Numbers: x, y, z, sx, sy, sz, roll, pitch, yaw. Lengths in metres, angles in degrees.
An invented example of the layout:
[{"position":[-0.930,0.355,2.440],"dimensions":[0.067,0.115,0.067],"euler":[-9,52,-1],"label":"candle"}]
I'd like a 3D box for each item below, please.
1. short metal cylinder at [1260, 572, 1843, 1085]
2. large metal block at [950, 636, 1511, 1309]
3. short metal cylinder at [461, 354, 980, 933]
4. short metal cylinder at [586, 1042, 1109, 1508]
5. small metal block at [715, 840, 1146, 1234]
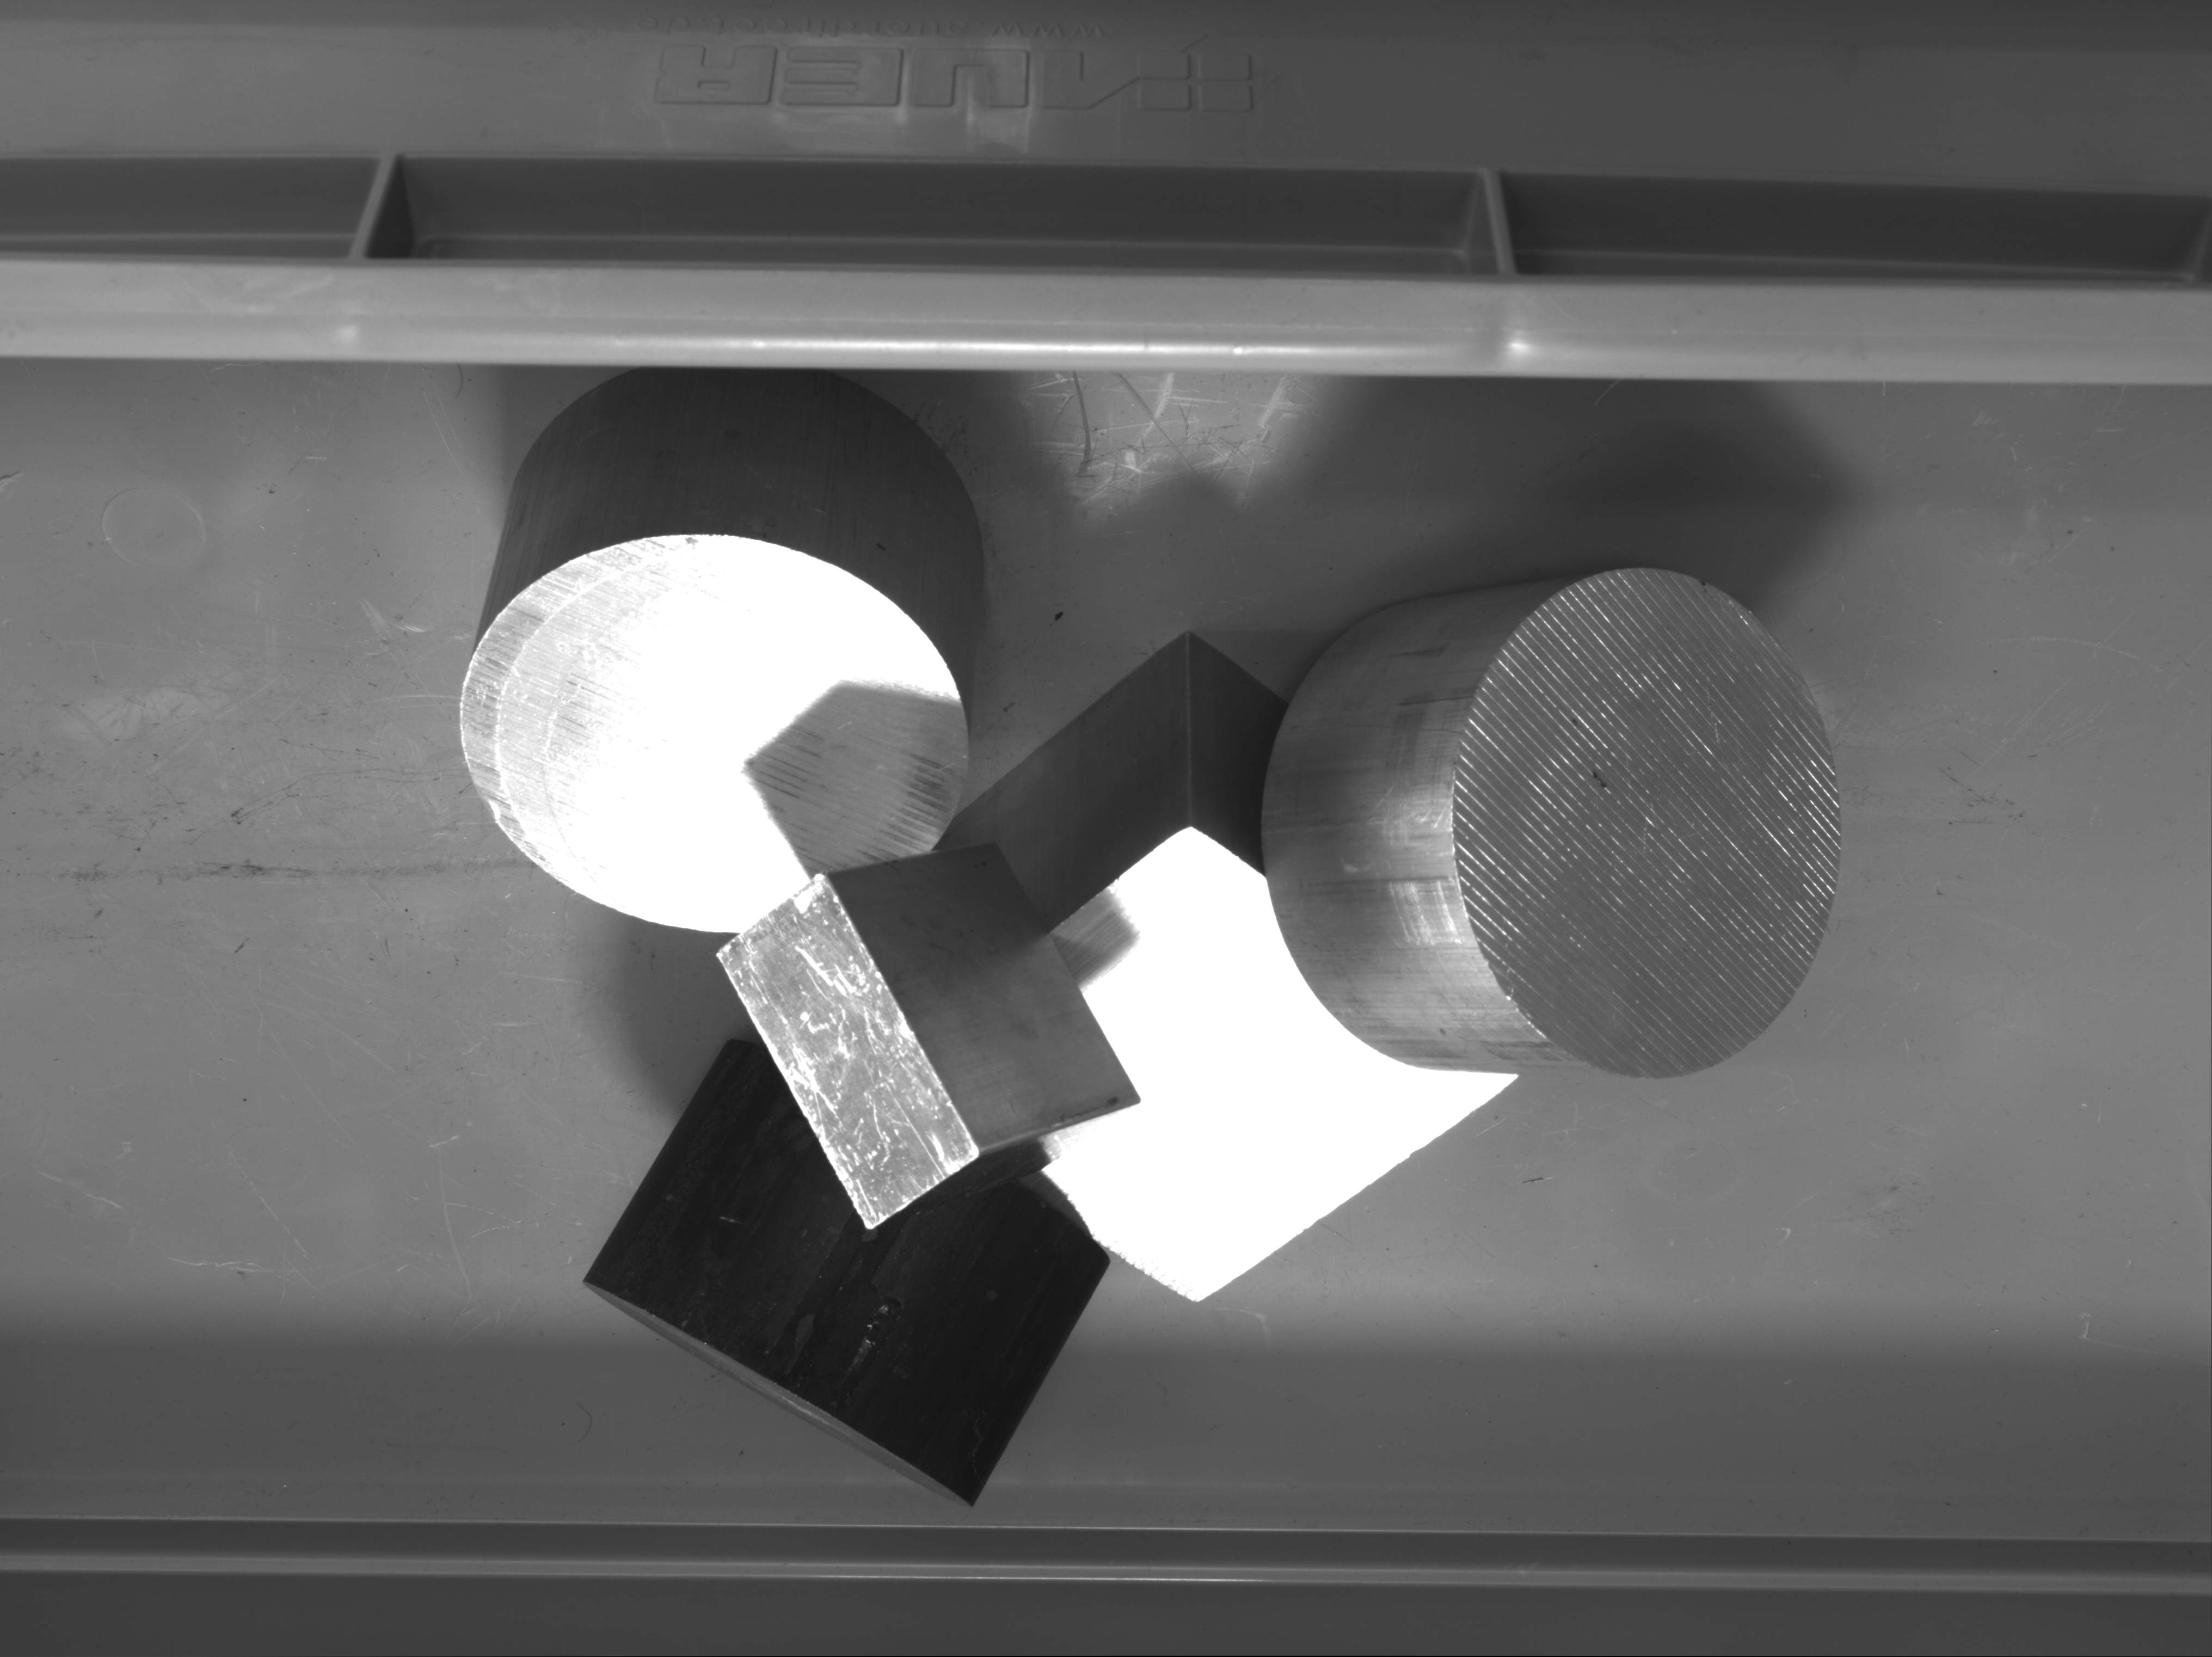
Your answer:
[{"position":[0.072,0.001,0.594],"dimensions":[0.080,0.080,0.050],"euler":[36,160,-26],"label":"short metal cylinder"},{"position":[0.015,0.027,0.641],"dimensions":[0.080,0.050,0.080],"euler":[37,121,-27],"label":"large metal block"},{"position":[-0.061,-0.030,0.597],"dimensions":[0.080,0.050,0.080],"euler":[0,130,0],"label":"short metal cylinder"},{"position":[-0.047,0.081,0.662],"dimensions":[0.080,0.050,0.080],"euler":[29,168,7],"label":"short metal cylinder"},{"position":[-0.027,0.032,0.584],"dimensions":[0.025,0.050,0.050],"euler":[-36,78,28],"label":"small metal block"}]
